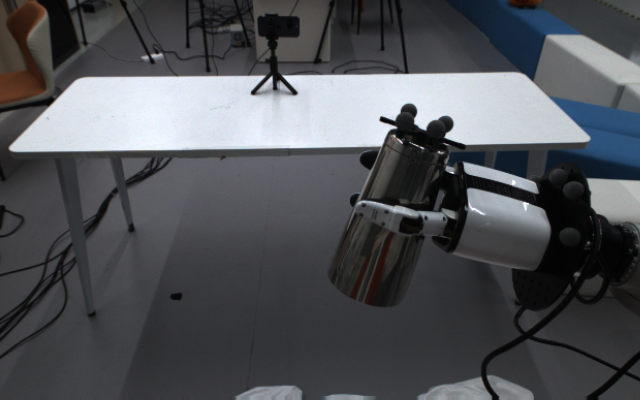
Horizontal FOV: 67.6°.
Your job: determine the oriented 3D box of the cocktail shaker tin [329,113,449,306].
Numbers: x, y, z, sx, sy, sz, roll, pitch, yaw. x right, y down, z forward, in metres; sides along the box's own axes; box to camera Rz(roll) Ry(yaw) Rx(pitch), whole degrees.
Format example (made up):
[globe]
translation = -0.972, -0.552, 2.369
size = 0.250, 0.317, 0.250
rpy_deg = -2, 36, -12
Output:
[cocktail shaker tin]
translation = 0.078, 0.016, 0.515
size = 0.093, 0.170, 0.093
rpy_deg = 15, 21, -6
